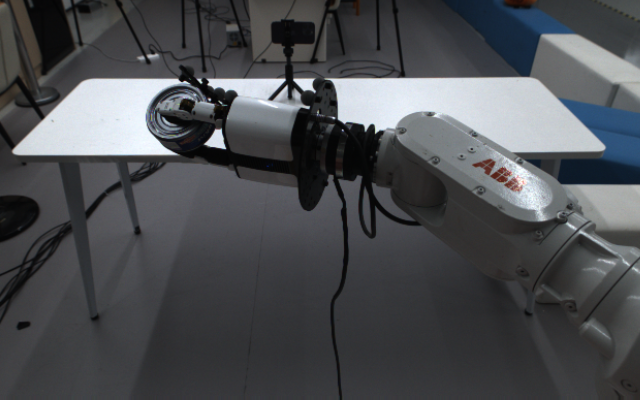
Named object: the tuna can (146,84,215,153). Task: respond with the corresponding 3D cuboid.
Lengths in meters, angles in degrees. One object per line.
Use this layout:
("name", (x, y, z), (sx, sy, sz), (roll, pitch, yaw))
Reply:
("tuna can", (-0.180, -0.108, 0.631), (0.085, 0.034, 0.085), (-3, 69, 9))
